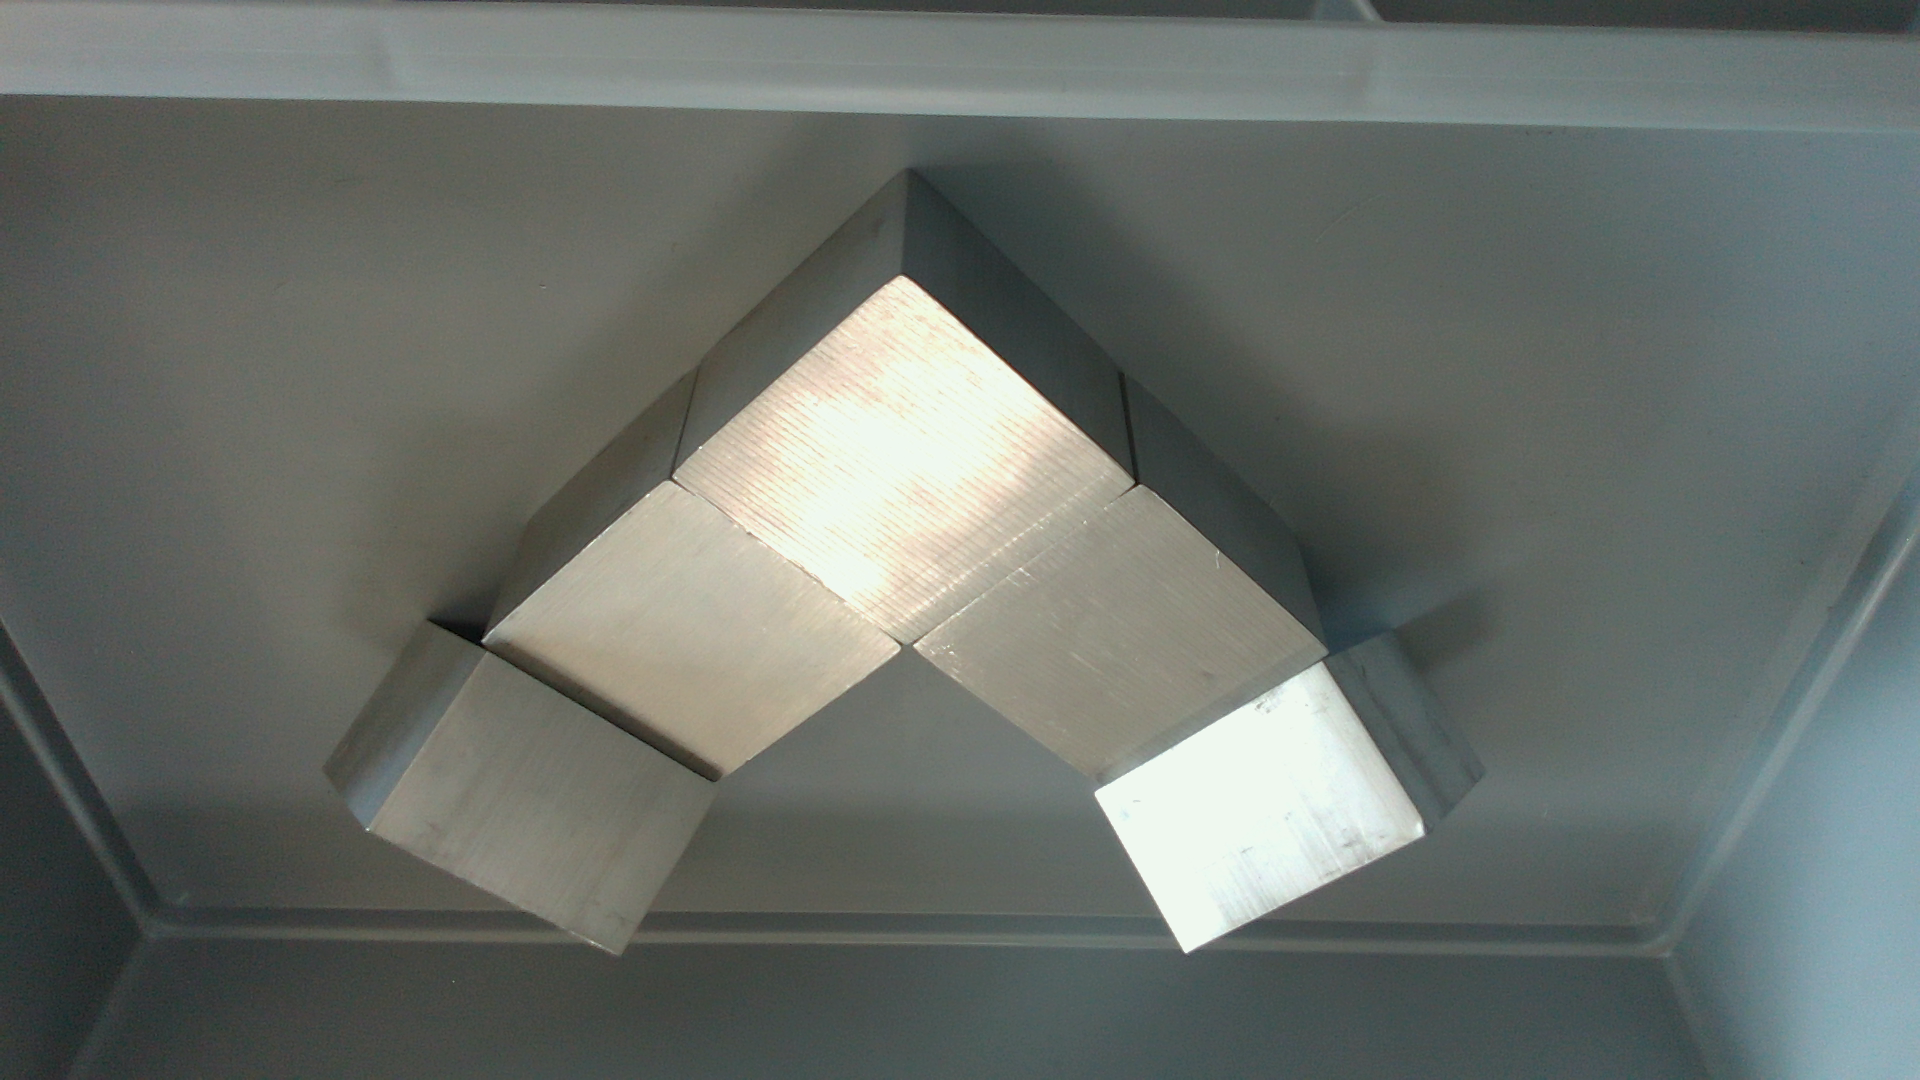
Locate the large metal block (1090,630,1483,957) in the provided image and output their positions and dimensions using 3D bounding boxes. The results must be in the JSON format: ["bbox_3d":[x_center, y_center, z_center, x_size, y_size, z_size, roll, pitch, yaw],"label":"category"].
[{"bbox_3d":[0.098,0.072,0.406,0.080,0.050,0.080,-36,165,27],"label":"large metal block"}]

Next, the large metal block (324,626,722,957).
[{"bbox_3d":[-0.129,0.071,0.403,0.080,0.050,0.080,38,163,-28],"label":"large metal block"}]

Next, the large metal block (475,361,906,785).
[{"bbox_3d":[-0.071,0.012,0.382,0.080,0.050,0.080,-36,121,27],"label":"large metal block"}]

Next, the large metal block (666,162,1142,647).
[{"bbox_3d":[-0.013,-0.031,0.346,0.080,0.050,0.080,-36,121,27],"label":"large metal block"}]

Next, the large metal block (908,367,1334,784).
[{"bbox_3d":[0.043,0.013,0.384,0.080,0.050,0.080,-36,121,27],"label":"large metal block"}]
